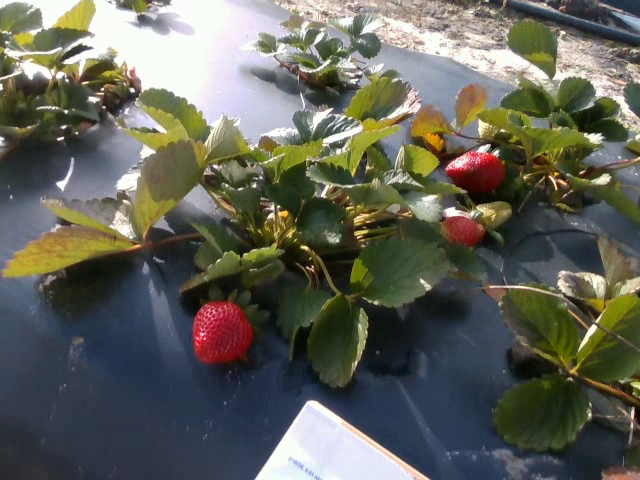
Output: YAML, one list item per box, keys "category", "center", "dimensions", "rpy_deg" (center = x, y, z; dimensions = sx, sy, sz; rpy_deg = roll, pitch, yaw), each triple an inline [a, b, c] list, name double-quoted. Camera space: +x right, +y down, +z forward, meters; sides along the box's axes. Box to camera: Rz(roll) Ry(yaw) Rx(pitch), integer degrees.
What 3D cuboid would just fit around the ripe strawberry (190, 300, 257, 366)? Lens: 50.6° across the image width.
- category: "ripe strawberry"
  center: [-0.055, 0.051, 0.357]
  dimensions: [0.041, 0.041, 0.047]
  rpy_deg: [-3, 16, 23]
